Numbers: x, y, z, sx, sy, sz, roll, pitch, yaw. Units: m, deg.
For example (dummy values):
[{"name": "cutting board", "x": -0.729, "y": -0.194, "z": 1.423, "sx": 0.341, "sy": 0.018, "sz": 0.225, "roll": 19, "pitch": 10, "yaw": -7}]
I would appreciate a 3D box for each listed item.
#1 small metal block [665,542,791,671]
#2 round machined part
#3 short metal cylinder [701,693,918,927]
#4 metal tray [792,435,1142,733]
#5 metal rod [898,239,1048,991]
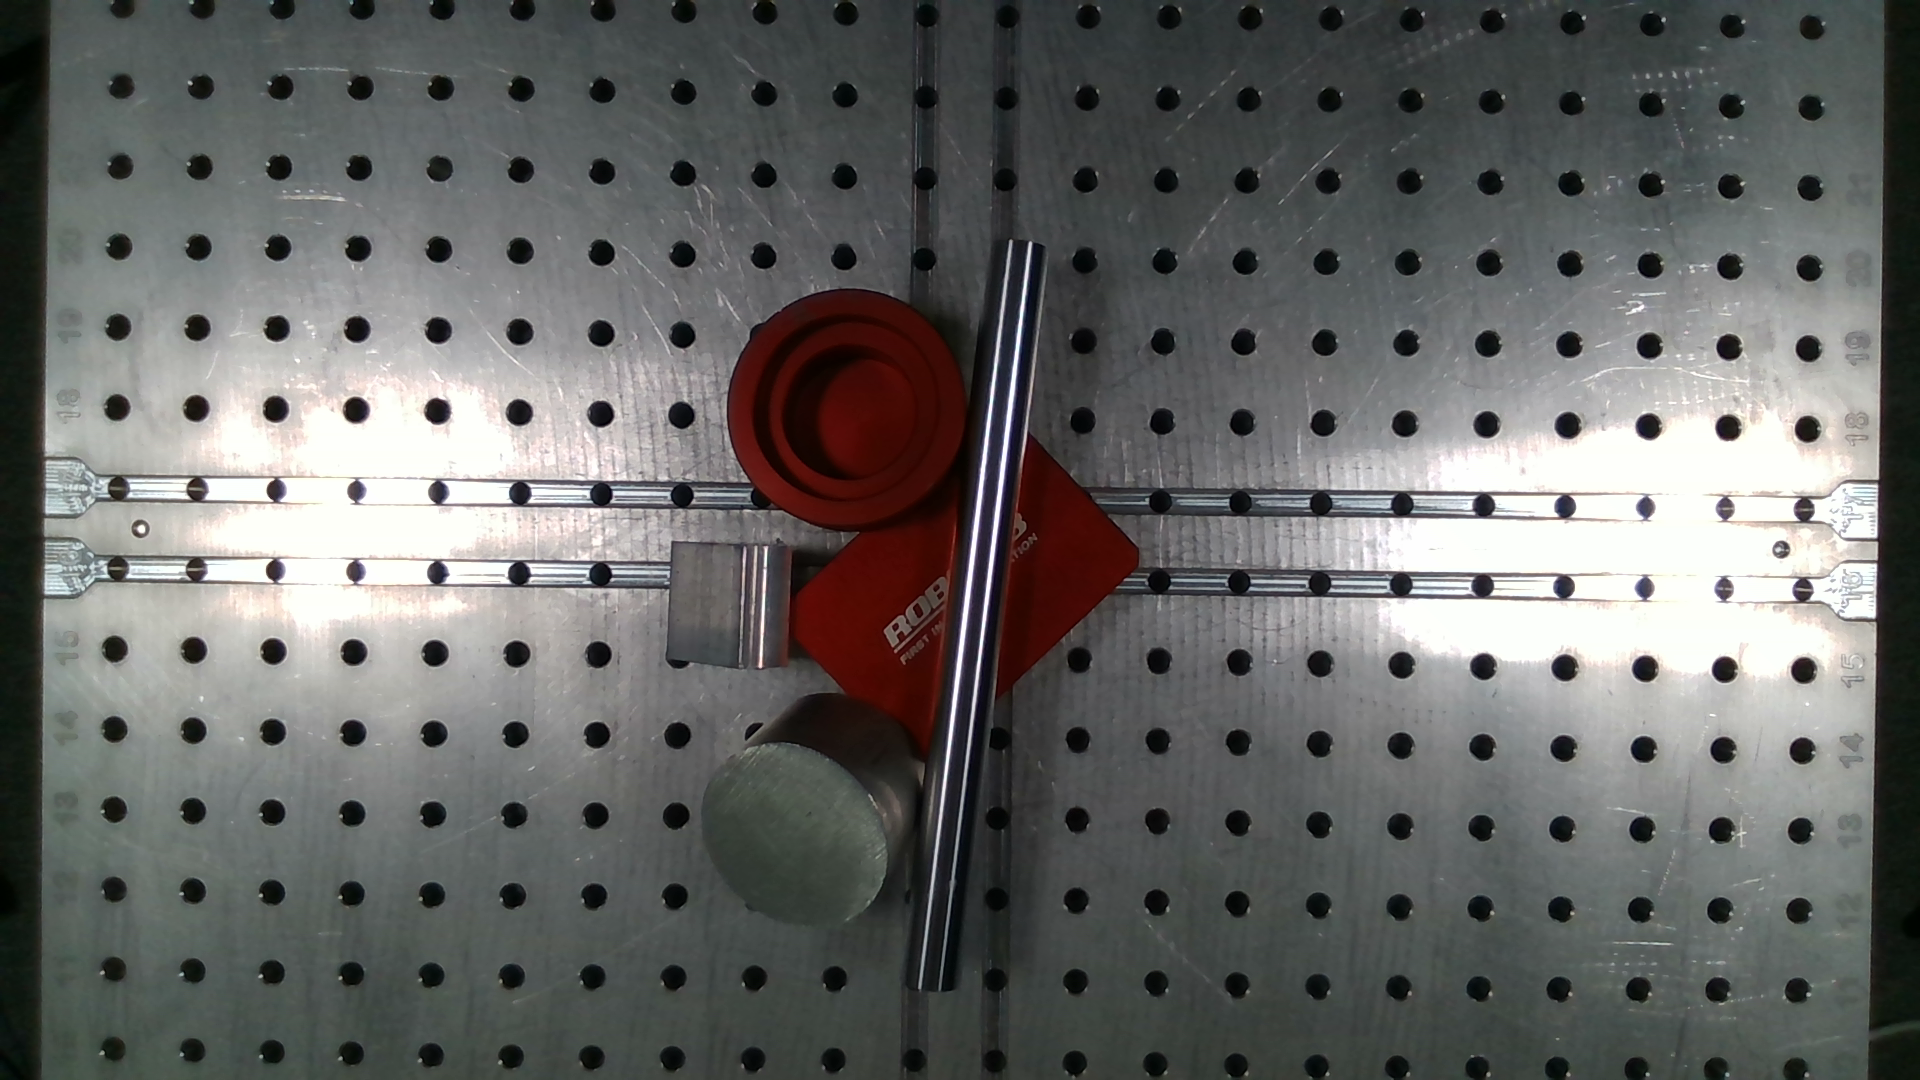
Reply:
[{"name": "small metal block", "x": -0.097, "y": 0.027, "z": 0.576, "sx": 0.050, "sy": 0.025, "sz": 0.050, "roll": 3, "pitch": 91, "yaw": 43}, {"name": "round machined part", "x": -0.044, "y": -0.052, "z": 0.575, "sx": 0.098, "sy": 0.042, "sz": 0.098, "roll": -1, "pitch": 85, "yaw": 6}, {"name": "short metal cylinder", "x": -0.058, "y": 0.109, "z": 0.562, "sx": 0.080, "sy": 0.050, "sz": 0.080, "roll": 6, "pitch": 109, "yaw": 17}, {"name": "metal tray", "x": 0.001, "y": 0.020, "z": 0.588, "sx": 0.130, "sy": 0.030, "sz": 0.090, "roll": -43, "pitch": 90, "yaw": 0}, {"name": "metal rod", "x": 0.005, "y": 0.030, "z": 0.558, "sx": 0.025, "sy": 0.025, "sz": 0.300, "roll": 7, "pitch": 91, "yaw": 0}]
